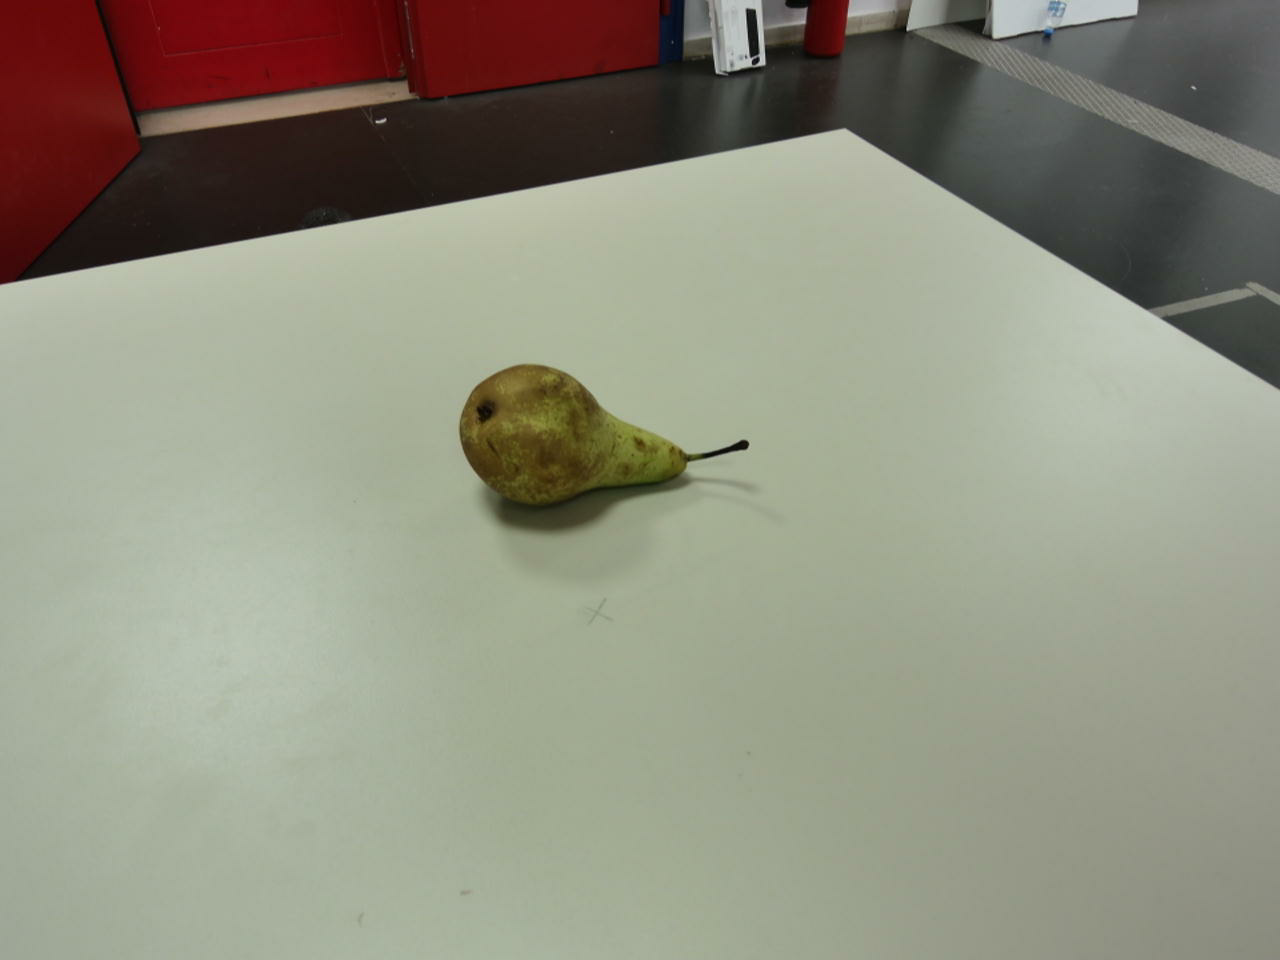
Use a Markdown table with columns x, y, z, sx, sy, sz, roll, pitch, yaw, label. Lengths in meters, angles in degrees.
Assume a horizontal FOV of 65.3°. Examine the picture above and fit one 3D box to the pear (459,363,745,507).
| x | y | z | sx | sy | sz | roll | pitch | yaw | label |
| --- | --- | --- | --- | --- | --- | --- | --- | --- | --- |
| -0.022 | -0.030 | 0.524 | 0.144 | 0.075 | 0.071 | -12 | 40 | -14 | pear |
